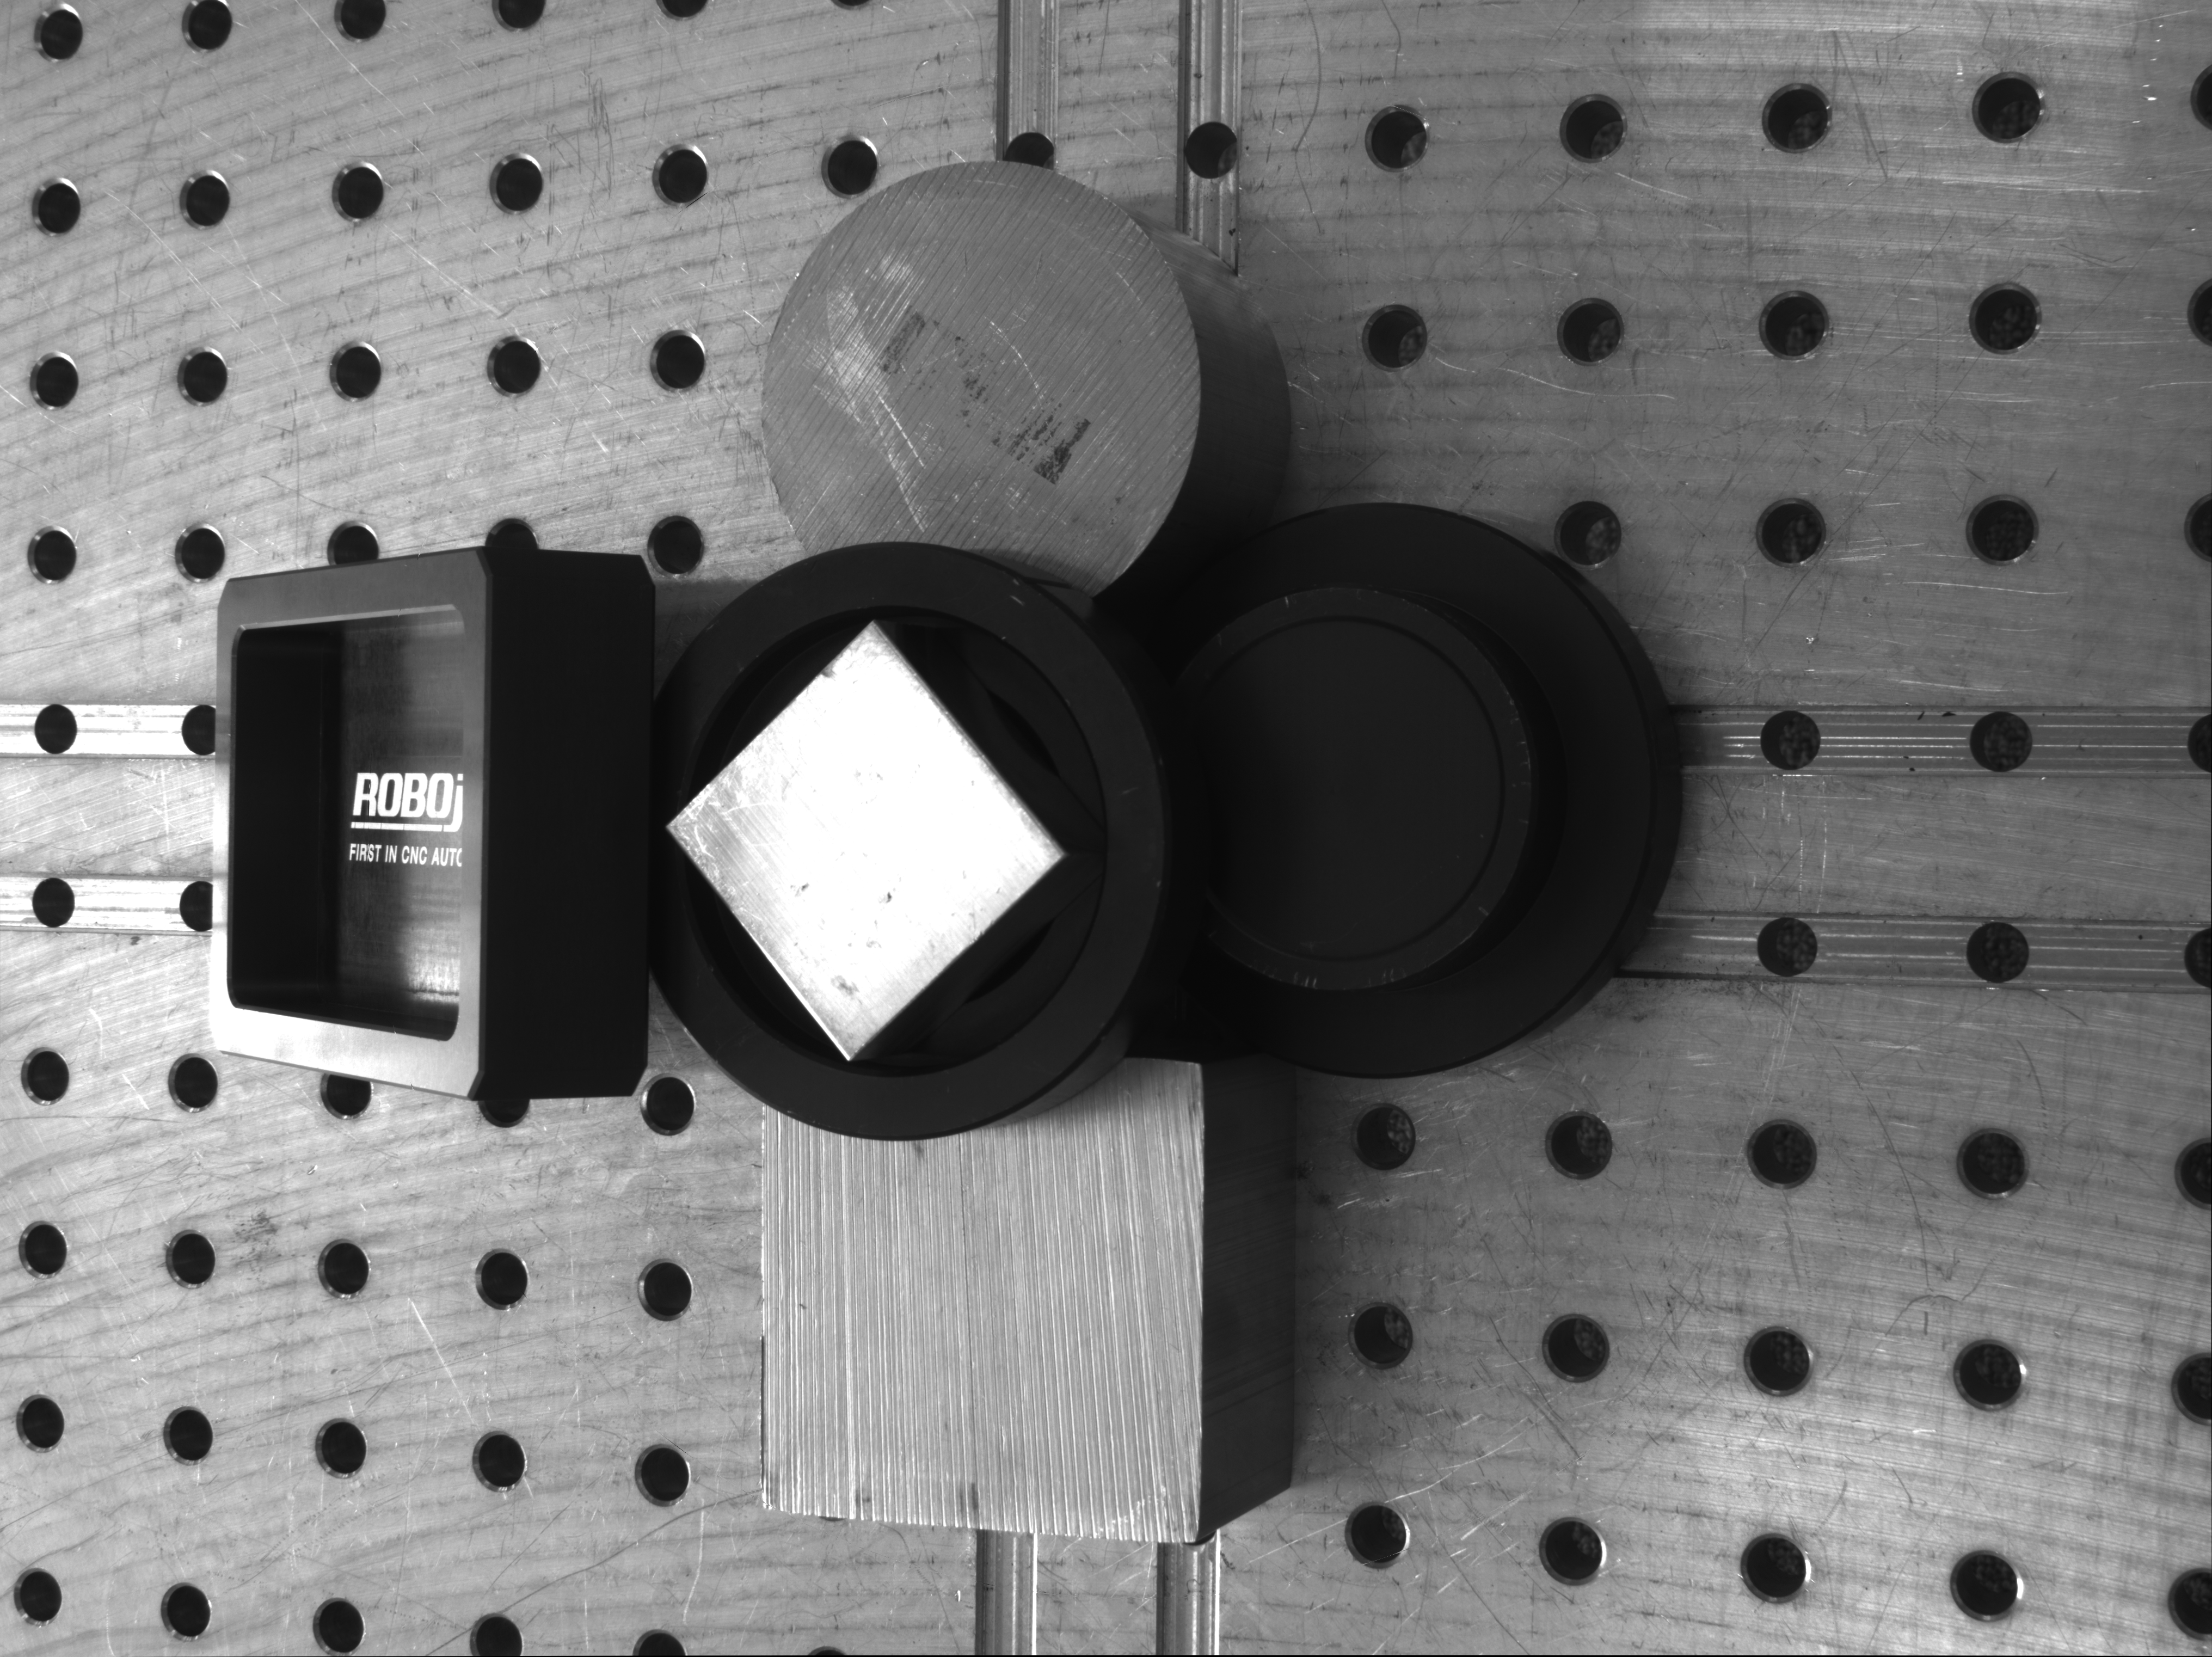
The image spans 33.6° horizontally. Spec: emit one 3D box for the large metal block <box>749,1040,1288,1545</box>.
[{"bbox_3d":[-0.014,0.077,0.637,0.080,0.050,0.080,1,90,20],"label":"large metal block"}]

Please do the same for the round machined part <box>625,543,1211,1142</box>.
[{"bbox_3d":[-0.028,0.002,0.619,0.098,0.042,0.098,0,90,20],"label":"round machined part"}]

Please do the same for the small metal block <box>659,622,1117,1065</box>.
[{"bbox_3d":[-0.035,0.002,0.596,0.050,0.025,0.050,-43,76,15],"label":"small metal block"}]

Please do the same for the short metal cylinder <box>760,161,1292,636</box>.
[{"bbox_3d":[-0.013,-0.072,0.640,0.080,0.050,0.080,0,90,20],"label":"short metal cylinder"}]

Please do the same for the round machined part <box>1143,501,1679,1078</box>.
[{"bbox_3d":[0.045,-0.007,0.622,0.098,0.042,0.098,0,90,20],"label":"round machined part"}]

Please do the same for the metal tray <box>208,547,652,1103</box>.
[{"bbox_3d":[-0.123,-0.001,0.652,0.130,0.030,0.090,1,91,57],"label":"metal tray"}]
